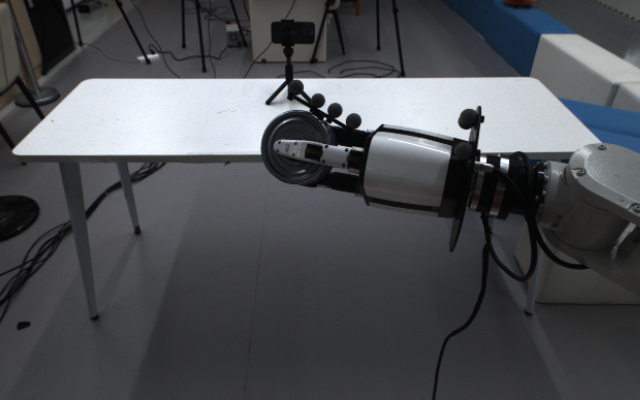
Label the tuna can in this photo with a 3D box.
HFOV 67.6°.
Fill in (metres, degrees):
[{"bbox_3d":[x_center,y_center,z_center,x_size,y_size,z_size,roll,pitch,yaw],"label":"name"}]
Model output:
[{"bbox_3d":[-0.021,-0.054,0.560,0.085,0.085,0.034,12,4,14],"label":"tuna can"}]
